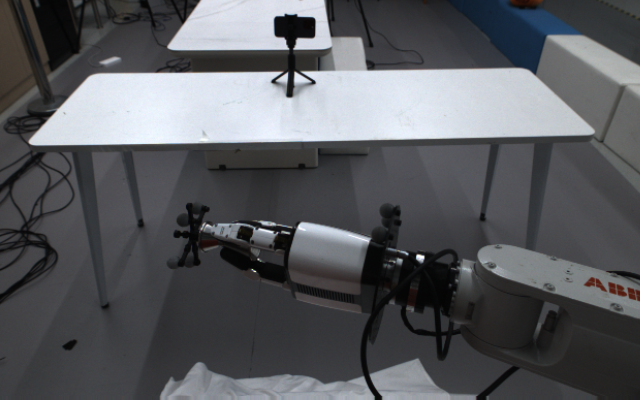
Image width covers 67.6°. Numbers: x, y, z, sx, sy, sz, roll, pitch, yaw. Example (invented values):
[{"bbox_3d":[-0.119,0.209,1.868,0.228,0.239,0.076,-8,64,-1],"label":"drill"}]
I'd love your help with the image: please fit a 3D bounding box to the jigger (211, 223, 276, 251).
[{"bbox_3d":[-0.103,0.046,0.595,0.071,0.043,0.043,5,35,13],"label":"jigger"}]
